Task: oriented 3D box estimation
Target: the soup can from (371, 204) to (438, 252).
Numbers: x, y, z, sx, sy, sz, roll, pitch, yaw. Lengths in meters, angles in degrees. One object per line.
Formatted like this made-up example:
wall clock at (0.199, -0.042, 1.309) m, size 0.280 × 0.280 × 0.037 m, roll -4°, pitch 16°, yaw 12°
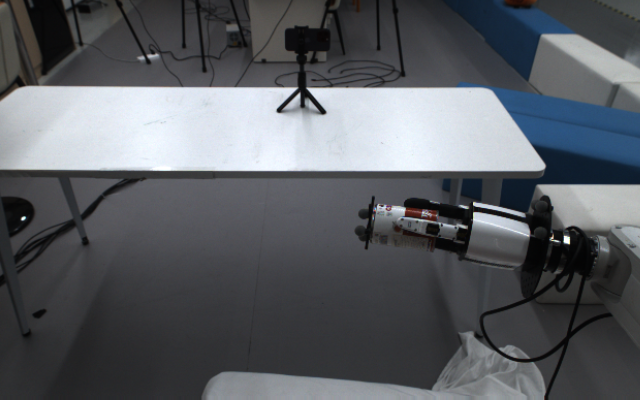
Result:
soup can at (0.138, 0.043, 0.781) m, size 0.101 × 0.067 × 0.067 m, roll 6°, pitch 35°, yaw 10°
